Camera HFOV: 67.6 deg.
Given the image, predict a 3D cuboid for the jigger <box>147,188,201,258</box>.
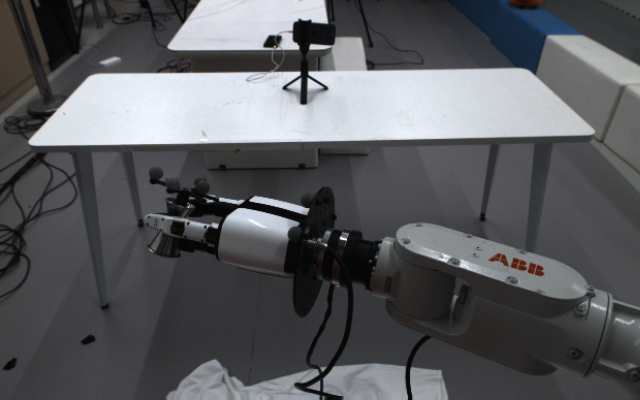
[{"bbox_3d":[-0.189,0.034,0.618,0.043,0.071,0.043,21,6,-2],"label":"jigger"}]
